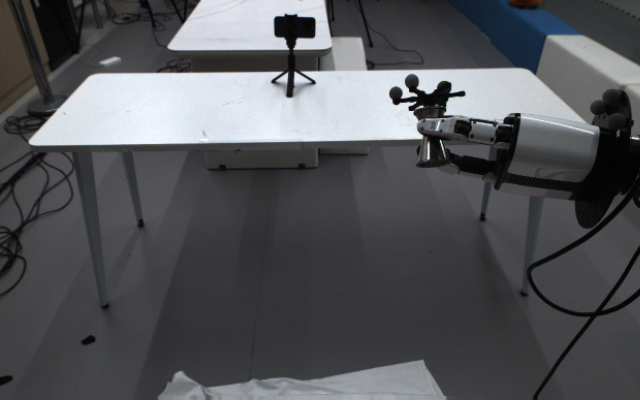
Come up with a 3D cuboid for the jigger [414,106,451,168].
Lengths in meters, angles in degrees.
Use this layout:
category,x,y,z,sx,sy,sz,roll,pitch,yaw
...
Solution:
category,x,y,z,sx,sy,sz,roll,pitch,yaw
jigger,0.137,-0.078,0.597,0.043,0.071,0.043,-2,-7,0
